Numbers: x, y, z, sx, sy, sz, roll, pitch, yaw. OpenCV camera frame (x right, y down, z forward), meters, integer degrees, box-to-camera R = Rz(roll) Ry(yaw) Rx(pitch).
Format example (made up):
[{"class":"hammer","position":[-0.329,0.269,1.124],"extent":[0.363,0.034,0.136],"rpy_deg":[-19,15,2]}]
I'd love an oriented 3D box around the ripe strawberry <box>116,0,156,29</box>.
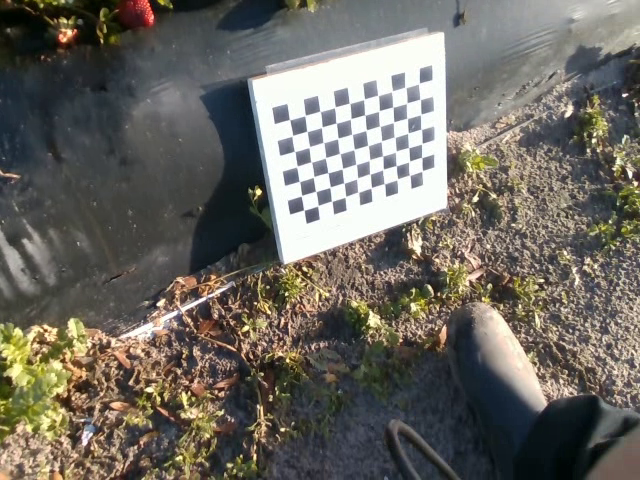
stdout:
[{"class":"ripe strawberry","position":[-0.220,-0.272,0.768],"extent":[0.051,0.052,0.041],"rpy_deg":[43,-3,23]}]
